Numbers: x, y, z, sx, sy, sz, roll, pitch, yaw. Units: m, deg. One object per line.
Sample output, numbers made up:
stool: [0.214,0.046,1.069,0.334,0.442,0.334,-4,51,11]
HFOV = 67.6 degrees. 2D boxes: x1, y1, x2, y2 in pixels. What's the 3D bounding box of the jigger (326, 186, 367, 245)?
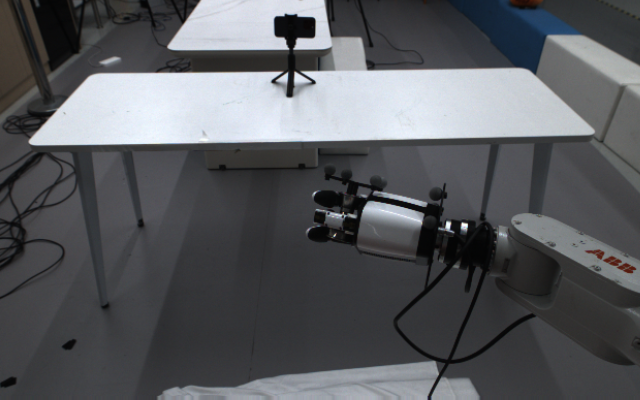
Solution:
jigger: [0.040,0.024,0.710,0.043,0.071,0.043,14,1,0]
